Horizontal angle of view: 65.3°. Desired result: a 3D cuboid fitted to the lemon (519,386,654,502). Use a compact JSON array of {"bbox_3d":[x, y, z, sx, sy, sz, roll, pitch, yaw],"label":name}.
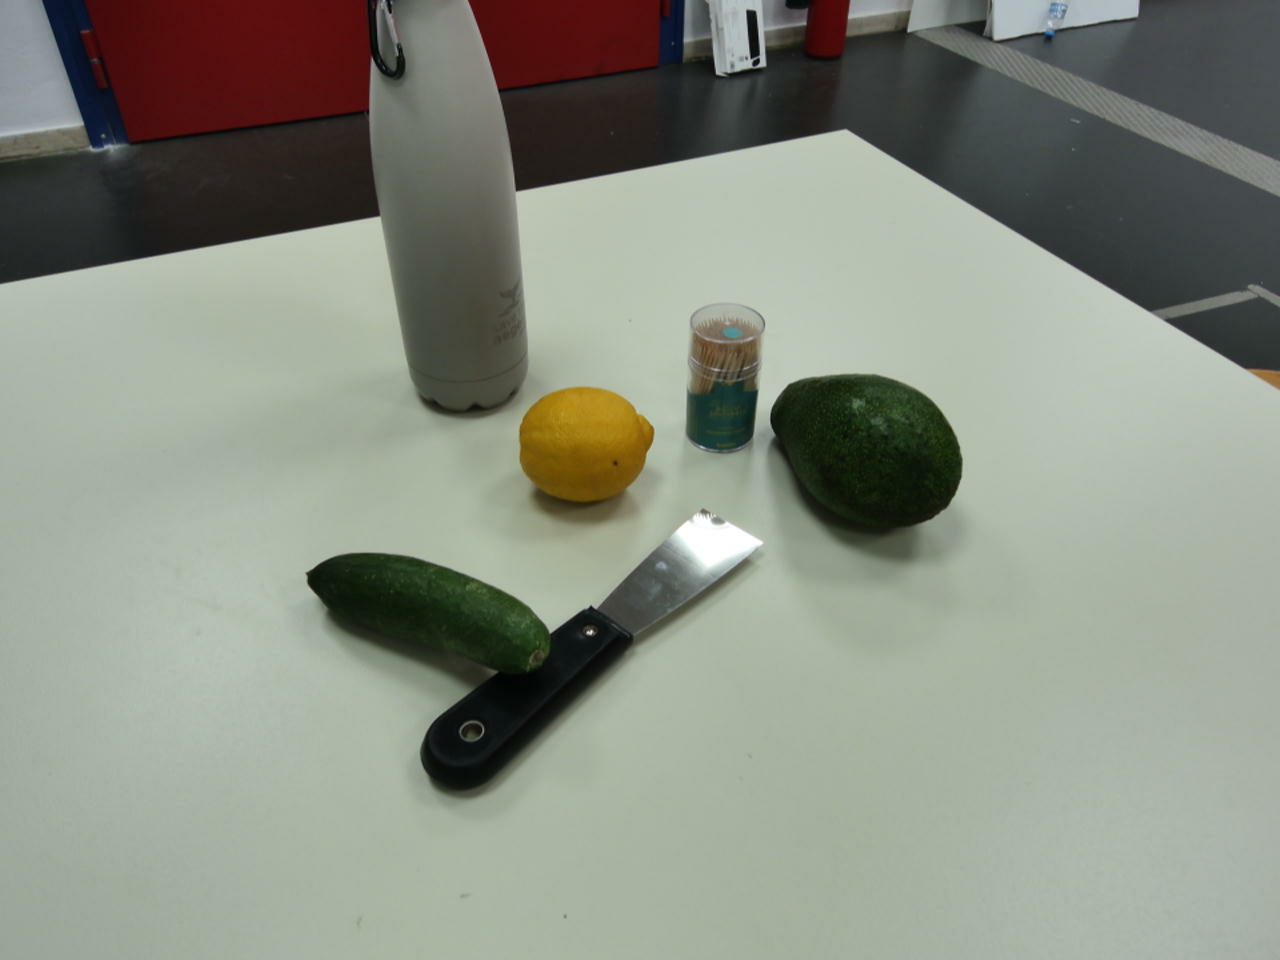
[{"bbox_3d":[-0.029,-0.018,0.518,0.067,0.059,0.060,11,40,13],"label":"lemon"}]
